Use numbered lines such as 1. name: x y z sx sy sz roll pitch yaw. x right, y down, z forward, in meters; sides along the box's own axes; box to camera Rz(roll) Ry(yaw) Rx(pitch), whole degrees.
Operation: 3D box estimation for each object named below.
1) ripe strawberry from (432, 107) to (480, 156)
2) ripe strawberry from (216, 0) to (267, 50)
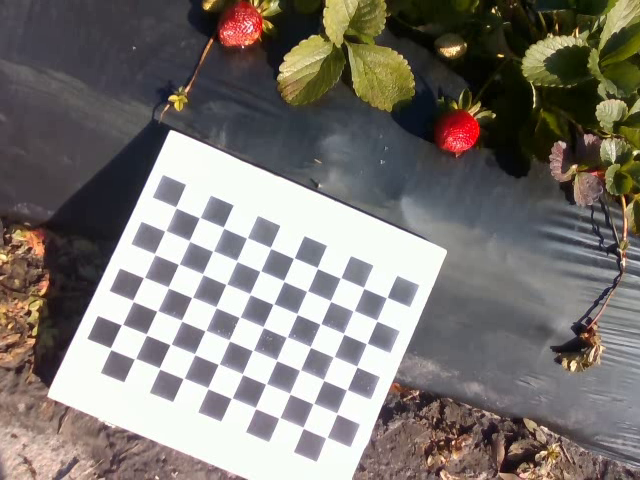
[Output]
1. ripe strawberry: 0.114 -0.090 0.546 0.043 0.043 0.050 -29 4 38
2. ripe strawberry: -0.070 -0.184 0.545 0.041 0.053 0.043 35 -47 -5
